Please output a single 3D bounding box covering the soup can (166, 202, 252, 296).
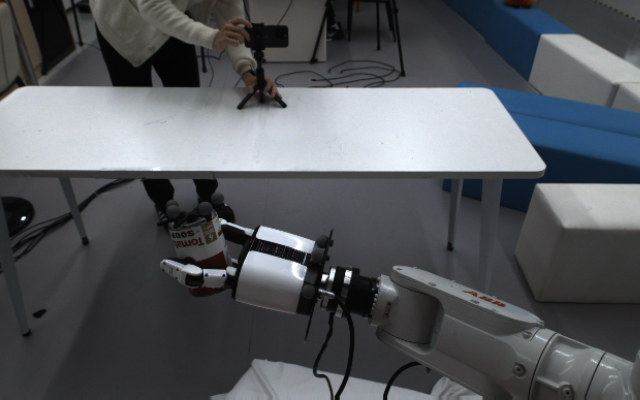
[{"bbox_3d":[-0.157,0.072,0.659,0.067,0.101,0.067,-12,17,4],"label":"soup can"}]
